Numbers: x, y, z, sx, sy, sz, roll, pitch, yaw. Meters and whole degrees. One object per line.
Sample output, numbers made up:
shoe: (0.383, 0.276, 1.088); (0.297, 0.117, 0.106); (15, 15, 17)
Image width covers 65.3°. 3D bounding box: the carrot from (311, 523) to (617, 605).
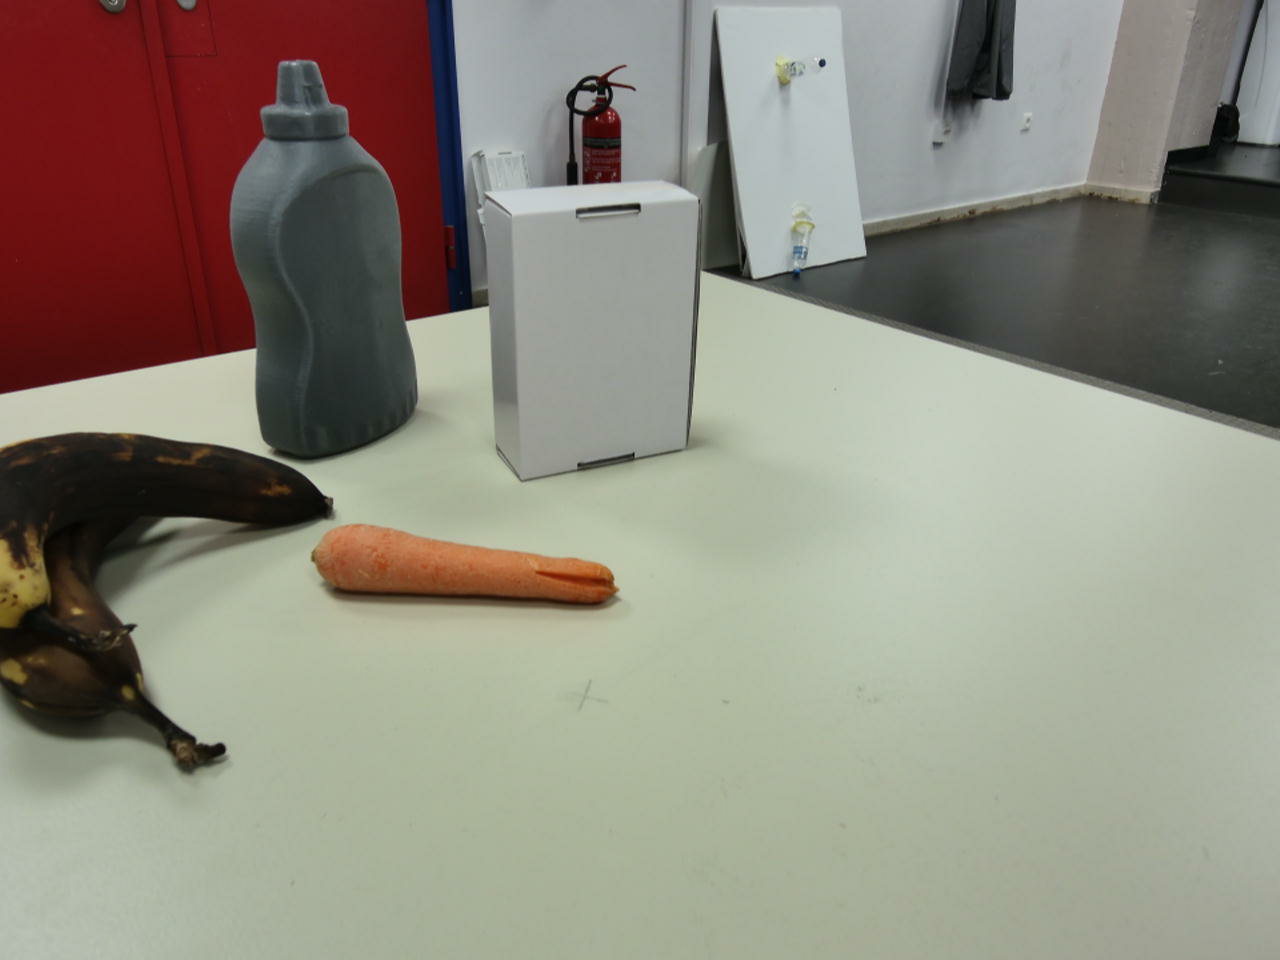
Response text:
carrot: (-0.078, 0.038, 0.439); (0.136, 0.032, 0.030); (3, 24, 6)
